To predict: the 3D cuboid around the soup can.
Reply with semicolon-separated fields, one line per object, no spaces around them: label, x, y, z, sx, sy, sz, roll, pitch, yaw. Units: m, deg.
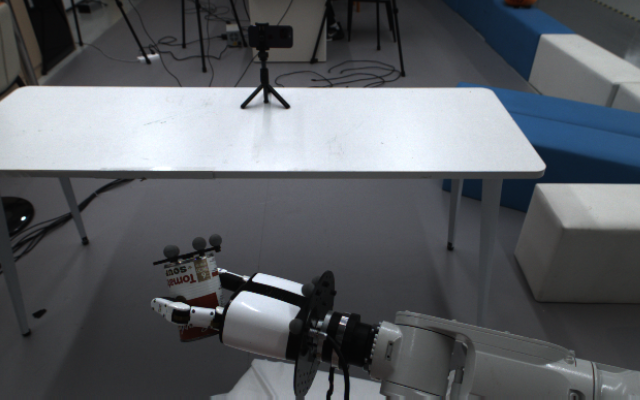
soup can;-0.160;0.129;0.639;0.067;0.101;0.067;-14;-2;-1
